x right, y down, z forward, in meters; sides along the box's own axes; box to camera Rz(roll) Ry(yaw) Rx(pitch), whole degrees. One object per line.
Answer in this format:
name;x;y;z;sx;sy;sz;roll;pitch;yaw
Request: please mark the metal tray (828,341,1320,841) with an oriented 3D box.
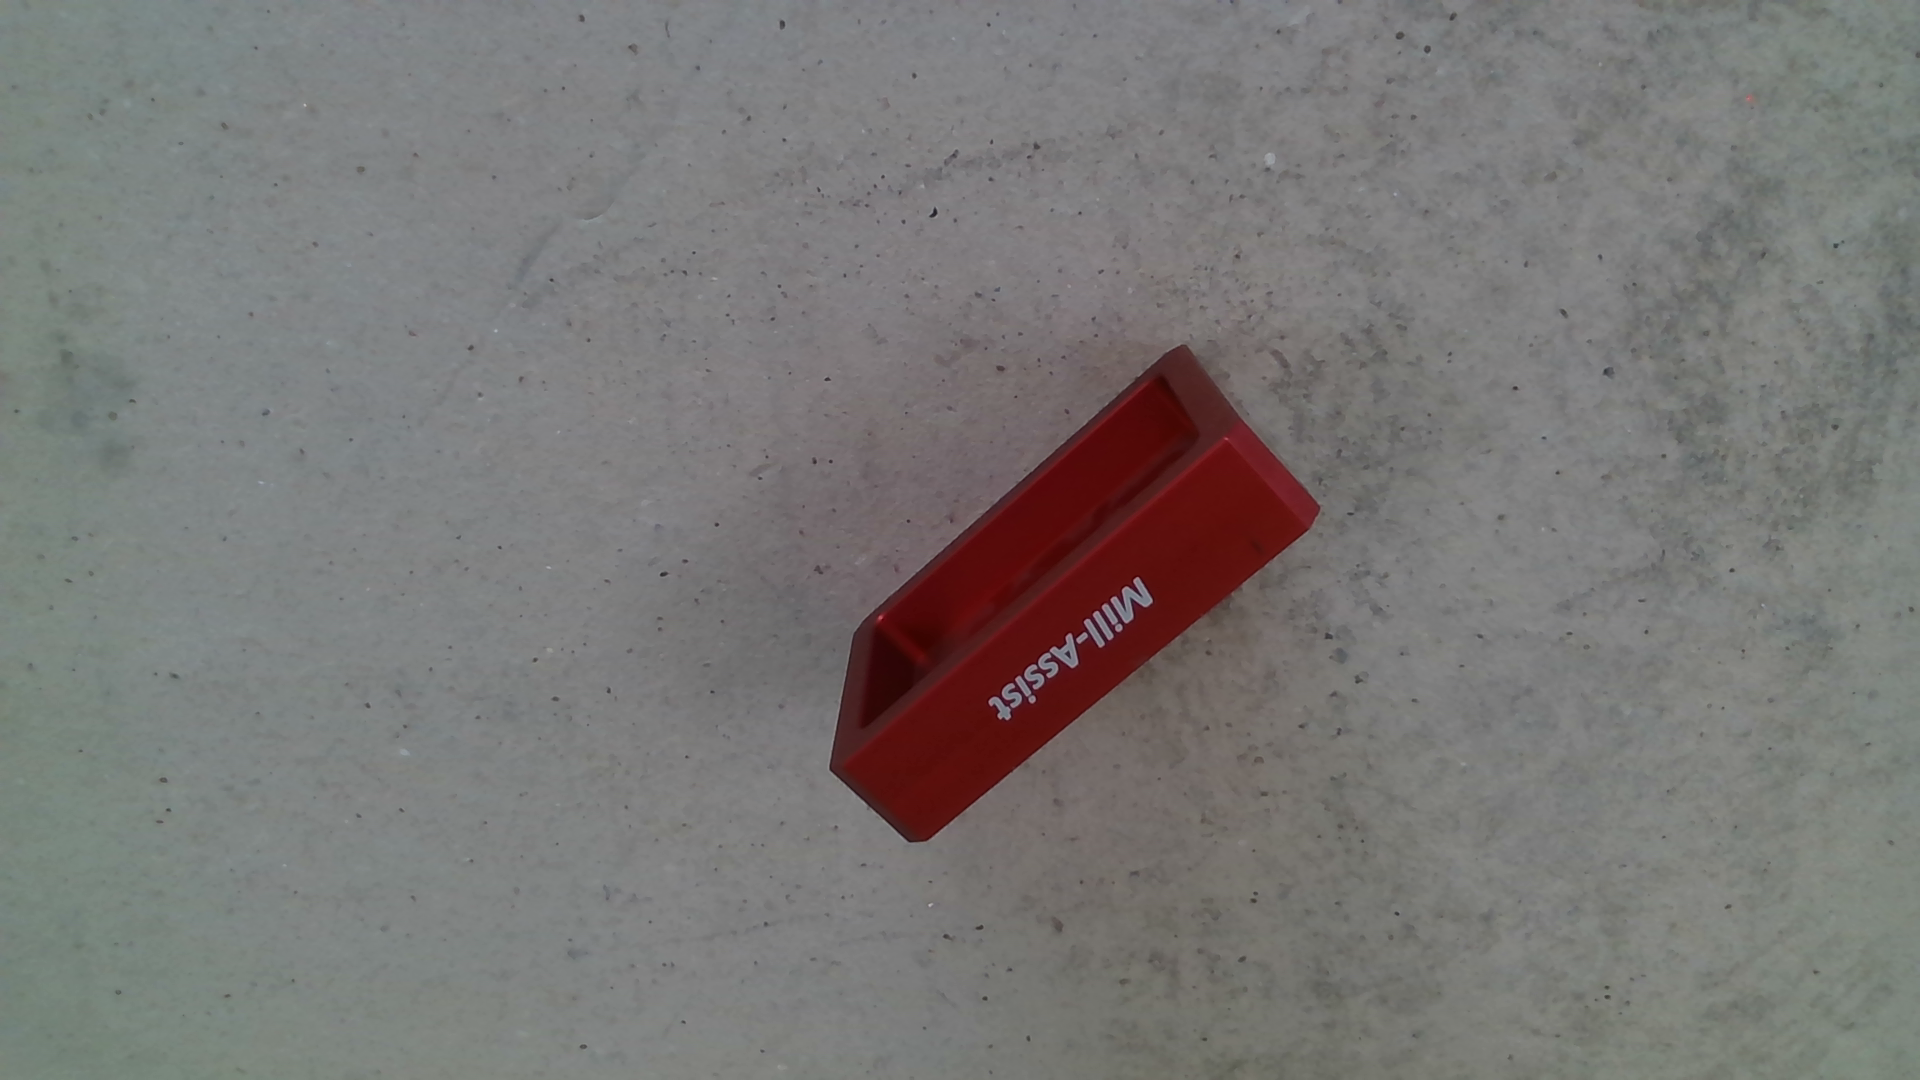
metal tray;0.025;0.010;0.362;0.130;0.090;0.030;-41;105;14
